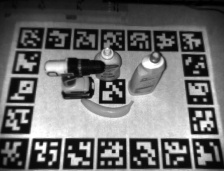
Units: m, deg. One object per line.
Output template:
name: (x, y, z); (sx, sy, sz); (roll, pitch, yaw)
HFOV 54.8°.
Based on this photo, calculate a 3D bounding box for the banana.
banana: (-0.017, 0.082, 0.785); (0.197, 0.039, 0.074); (4, 76, 1)

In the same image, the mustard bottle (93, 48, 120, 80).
mustard bottle: (-0.018, -0.077, 0.760); (0.096, 0.192, 0.058); (1, 71, -2)

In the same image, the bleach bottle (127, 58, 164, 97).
bleach bottle: (0.110, -0.027, 0.726); (0.103, 0.251, 0.067); (-7, 72, -3)

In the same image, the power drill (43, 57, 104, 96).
power drill: (-0.121, -0.028, 0.719); (0.185, 0.187, 0.057); (-2, 64, -5)
